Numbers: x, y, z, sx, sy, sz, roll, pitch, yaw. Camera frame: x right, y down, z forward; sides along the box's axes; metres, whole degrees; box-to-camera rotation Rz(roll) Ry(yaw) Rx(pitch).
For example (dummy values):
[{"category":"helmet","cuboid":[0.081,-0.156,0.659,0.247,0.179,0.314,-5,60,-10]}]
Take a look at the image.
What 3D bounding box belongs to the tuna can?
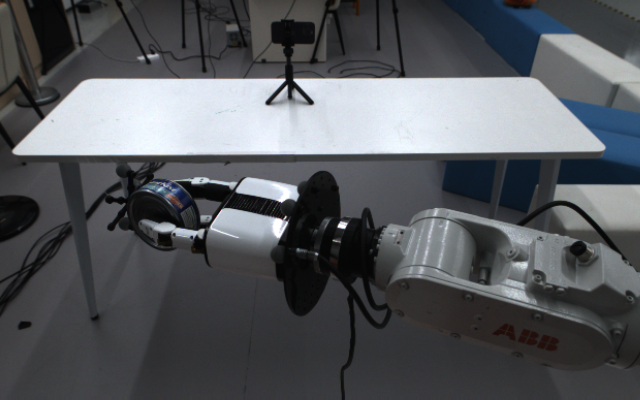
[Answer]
[{"category":"tuna can","cuboid":[-0.187,0.022,0.585,0.085,0.085,0.034,14,31,16]}]
